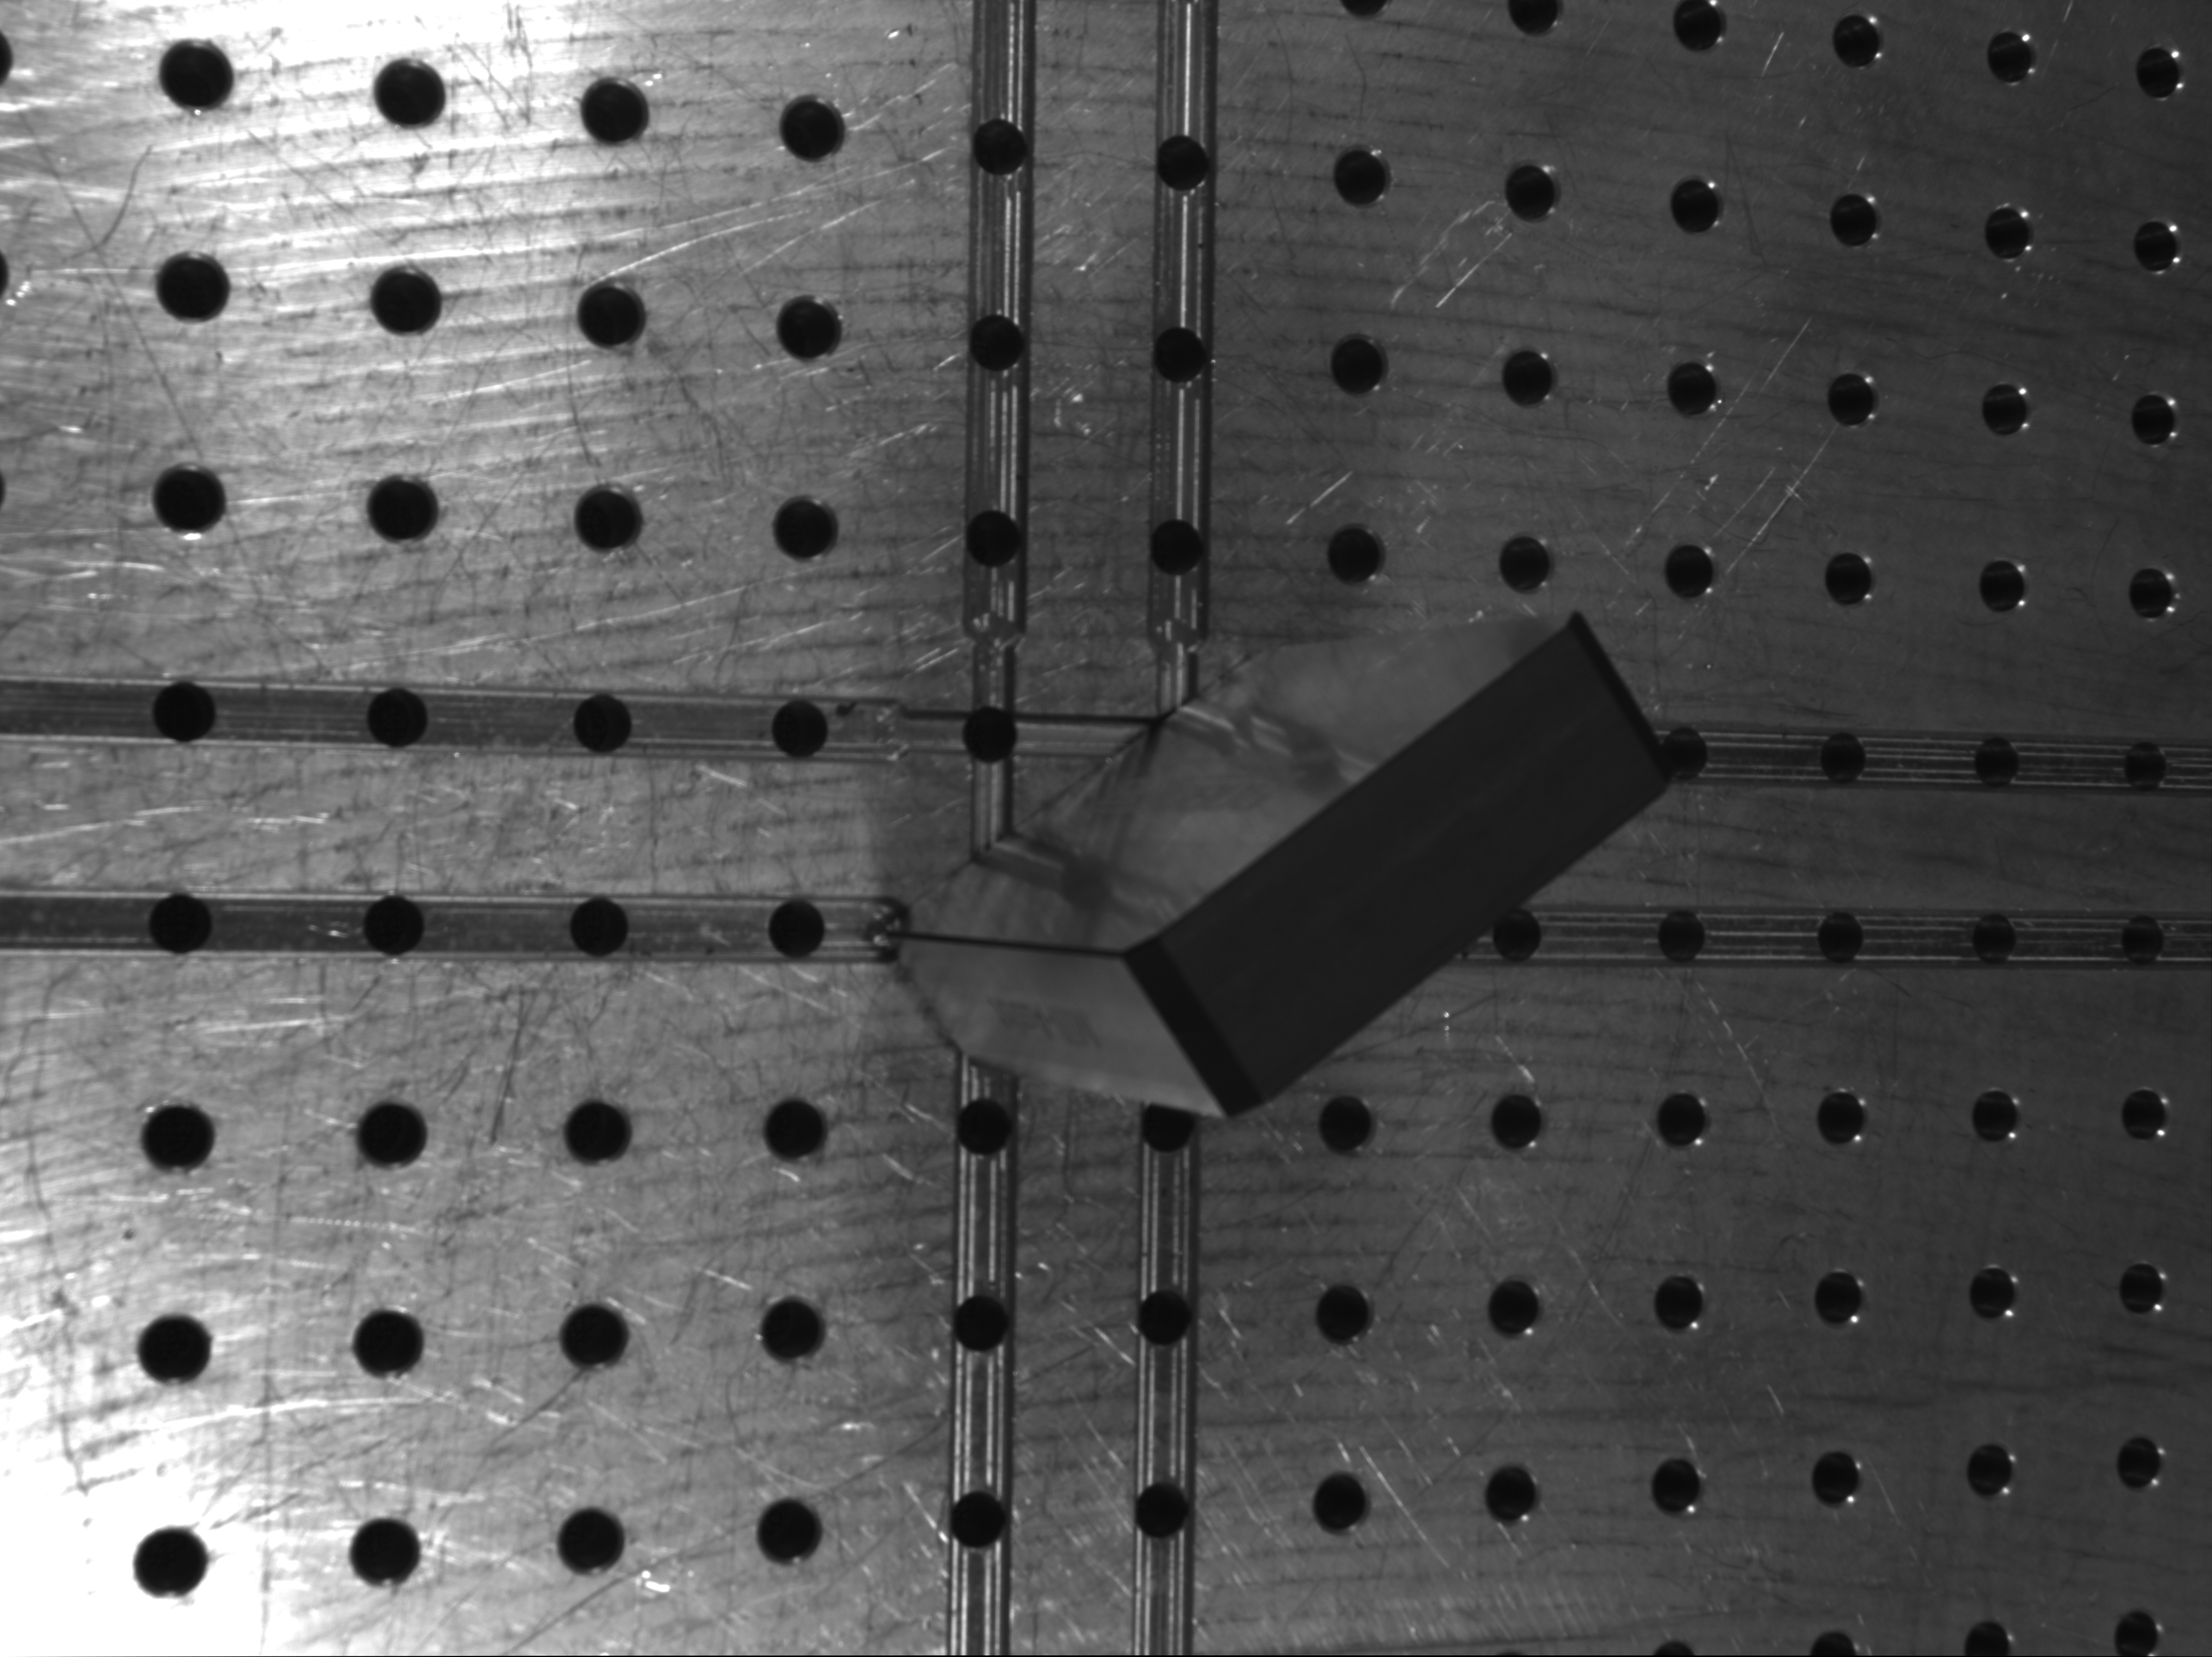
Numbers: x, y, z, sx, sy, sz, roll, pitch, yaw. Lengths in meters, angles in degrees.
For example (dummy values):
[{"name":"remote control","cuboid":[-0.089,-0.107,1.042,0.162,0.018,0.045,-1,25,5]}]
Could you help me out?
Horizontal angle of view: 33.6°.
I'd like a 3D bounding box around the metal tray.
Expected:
[{"name":"metal tray","cuboid":[0.026,0.005,0.599,0.090,0.130,0.030,-37,101,-16]}]
